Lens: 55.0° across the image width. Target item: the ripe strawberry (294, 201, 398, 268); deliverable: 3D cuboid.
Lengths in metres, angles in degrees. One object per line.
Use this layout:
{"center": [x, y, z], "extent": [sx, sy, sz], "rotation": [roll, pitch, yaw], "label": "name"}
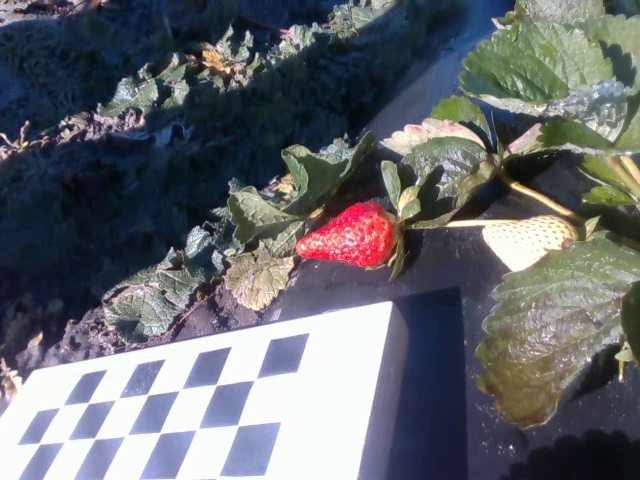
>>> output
{"center": [0.014, -0.001, 0.341], "extent": [0.068, 0.040, 0.048], "rotation": [-20, 32, 12], "label": "ripe strawberry"}
